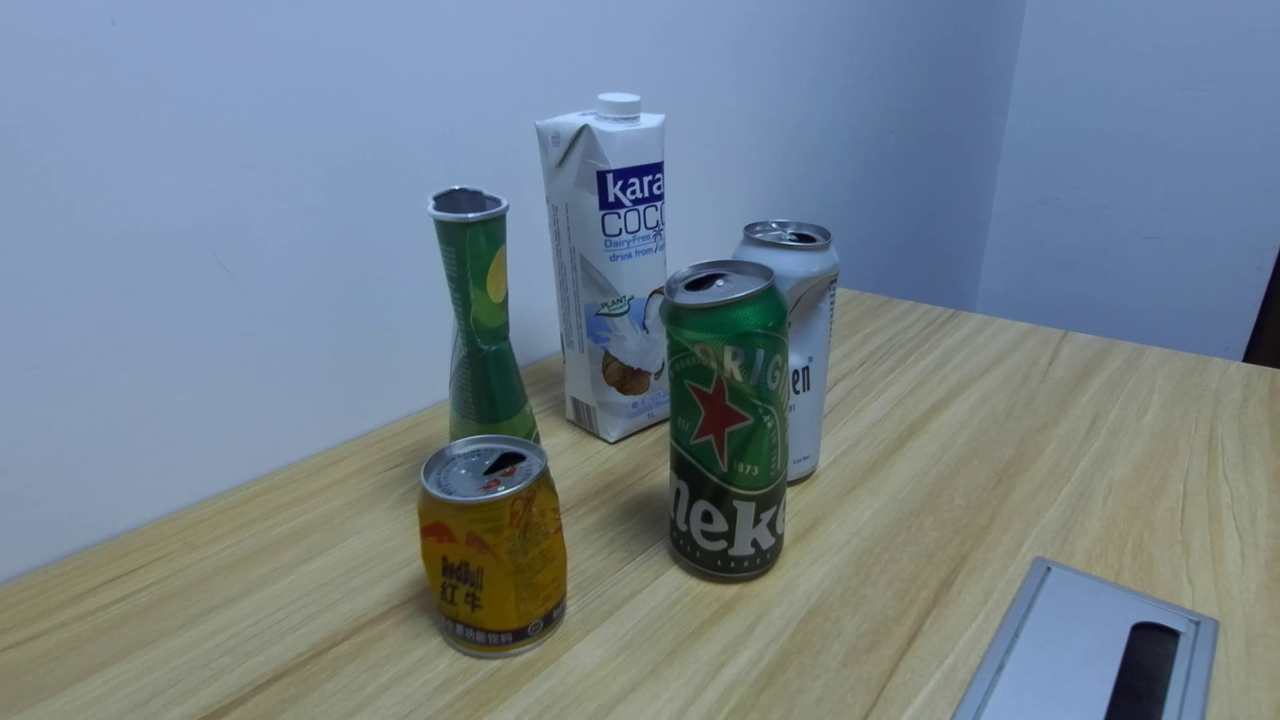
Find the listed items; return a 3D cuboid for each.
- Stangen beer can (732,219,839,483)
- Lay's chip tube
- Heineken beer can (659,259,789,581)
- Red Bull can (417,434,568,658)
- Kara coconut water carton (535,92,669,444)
[{"bbox_3d":[0.092,-0.003,0.461,0.070,0.173,0.069,2,25,8],"label":"Stangen beer can"},{"bbox_3d":[-0.092,0.005,0.423,0.074,0.199,0.069,13,28,31],"label":"Lay's chip tube"},{"bbox_3d":[0.045,0.036,0.378,0.069,0.168,0.068,2,24,16],"label":"Heineken beer can"},{"bbox_3d":[-0.072,0.091,0.353,0.072,0.092,0.072,-2,23,1],"label":"Red Bull can"},{"bbox_3d":[-0.021,-0.064,0.519,0.077,0.245,0.075,-18,25,-34],"label":"Kara coconut water carton"}]
